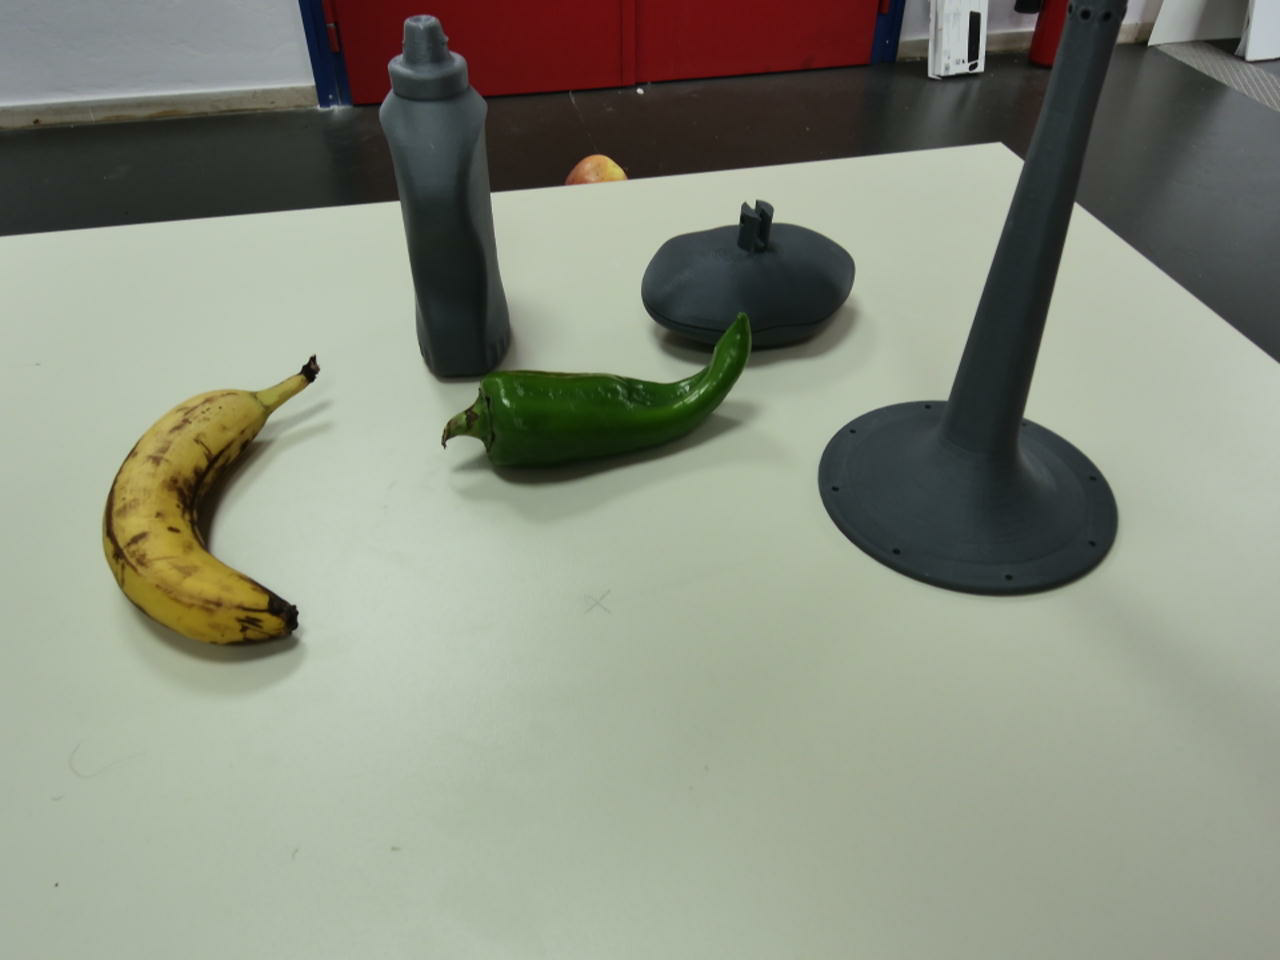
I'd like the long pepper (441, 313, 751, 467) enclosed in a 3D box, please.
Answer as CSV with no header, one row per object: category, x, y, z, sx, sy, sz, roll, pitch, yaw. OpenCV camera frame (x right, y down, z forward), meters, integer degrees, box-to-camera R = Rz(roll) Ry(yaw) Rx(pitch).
long pepper,-0.020,-0.046,0.536,0.175,0.065,0.058,-9,40,-11
